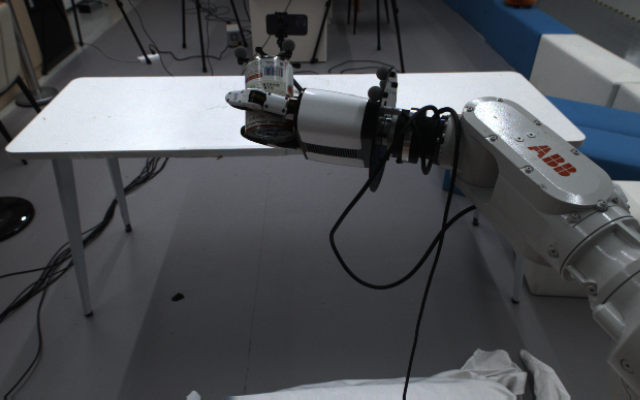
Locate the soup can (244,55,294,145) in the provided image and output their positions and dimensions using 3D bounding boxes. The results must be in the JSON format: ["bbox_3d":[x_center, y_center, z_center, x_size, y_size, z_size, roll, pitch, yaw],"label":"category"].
[{"bbox_3d":[-0.068,-0.135,0.656,0.067,0.101,0.067,-1,-9,0],"label":"soup can"}]
